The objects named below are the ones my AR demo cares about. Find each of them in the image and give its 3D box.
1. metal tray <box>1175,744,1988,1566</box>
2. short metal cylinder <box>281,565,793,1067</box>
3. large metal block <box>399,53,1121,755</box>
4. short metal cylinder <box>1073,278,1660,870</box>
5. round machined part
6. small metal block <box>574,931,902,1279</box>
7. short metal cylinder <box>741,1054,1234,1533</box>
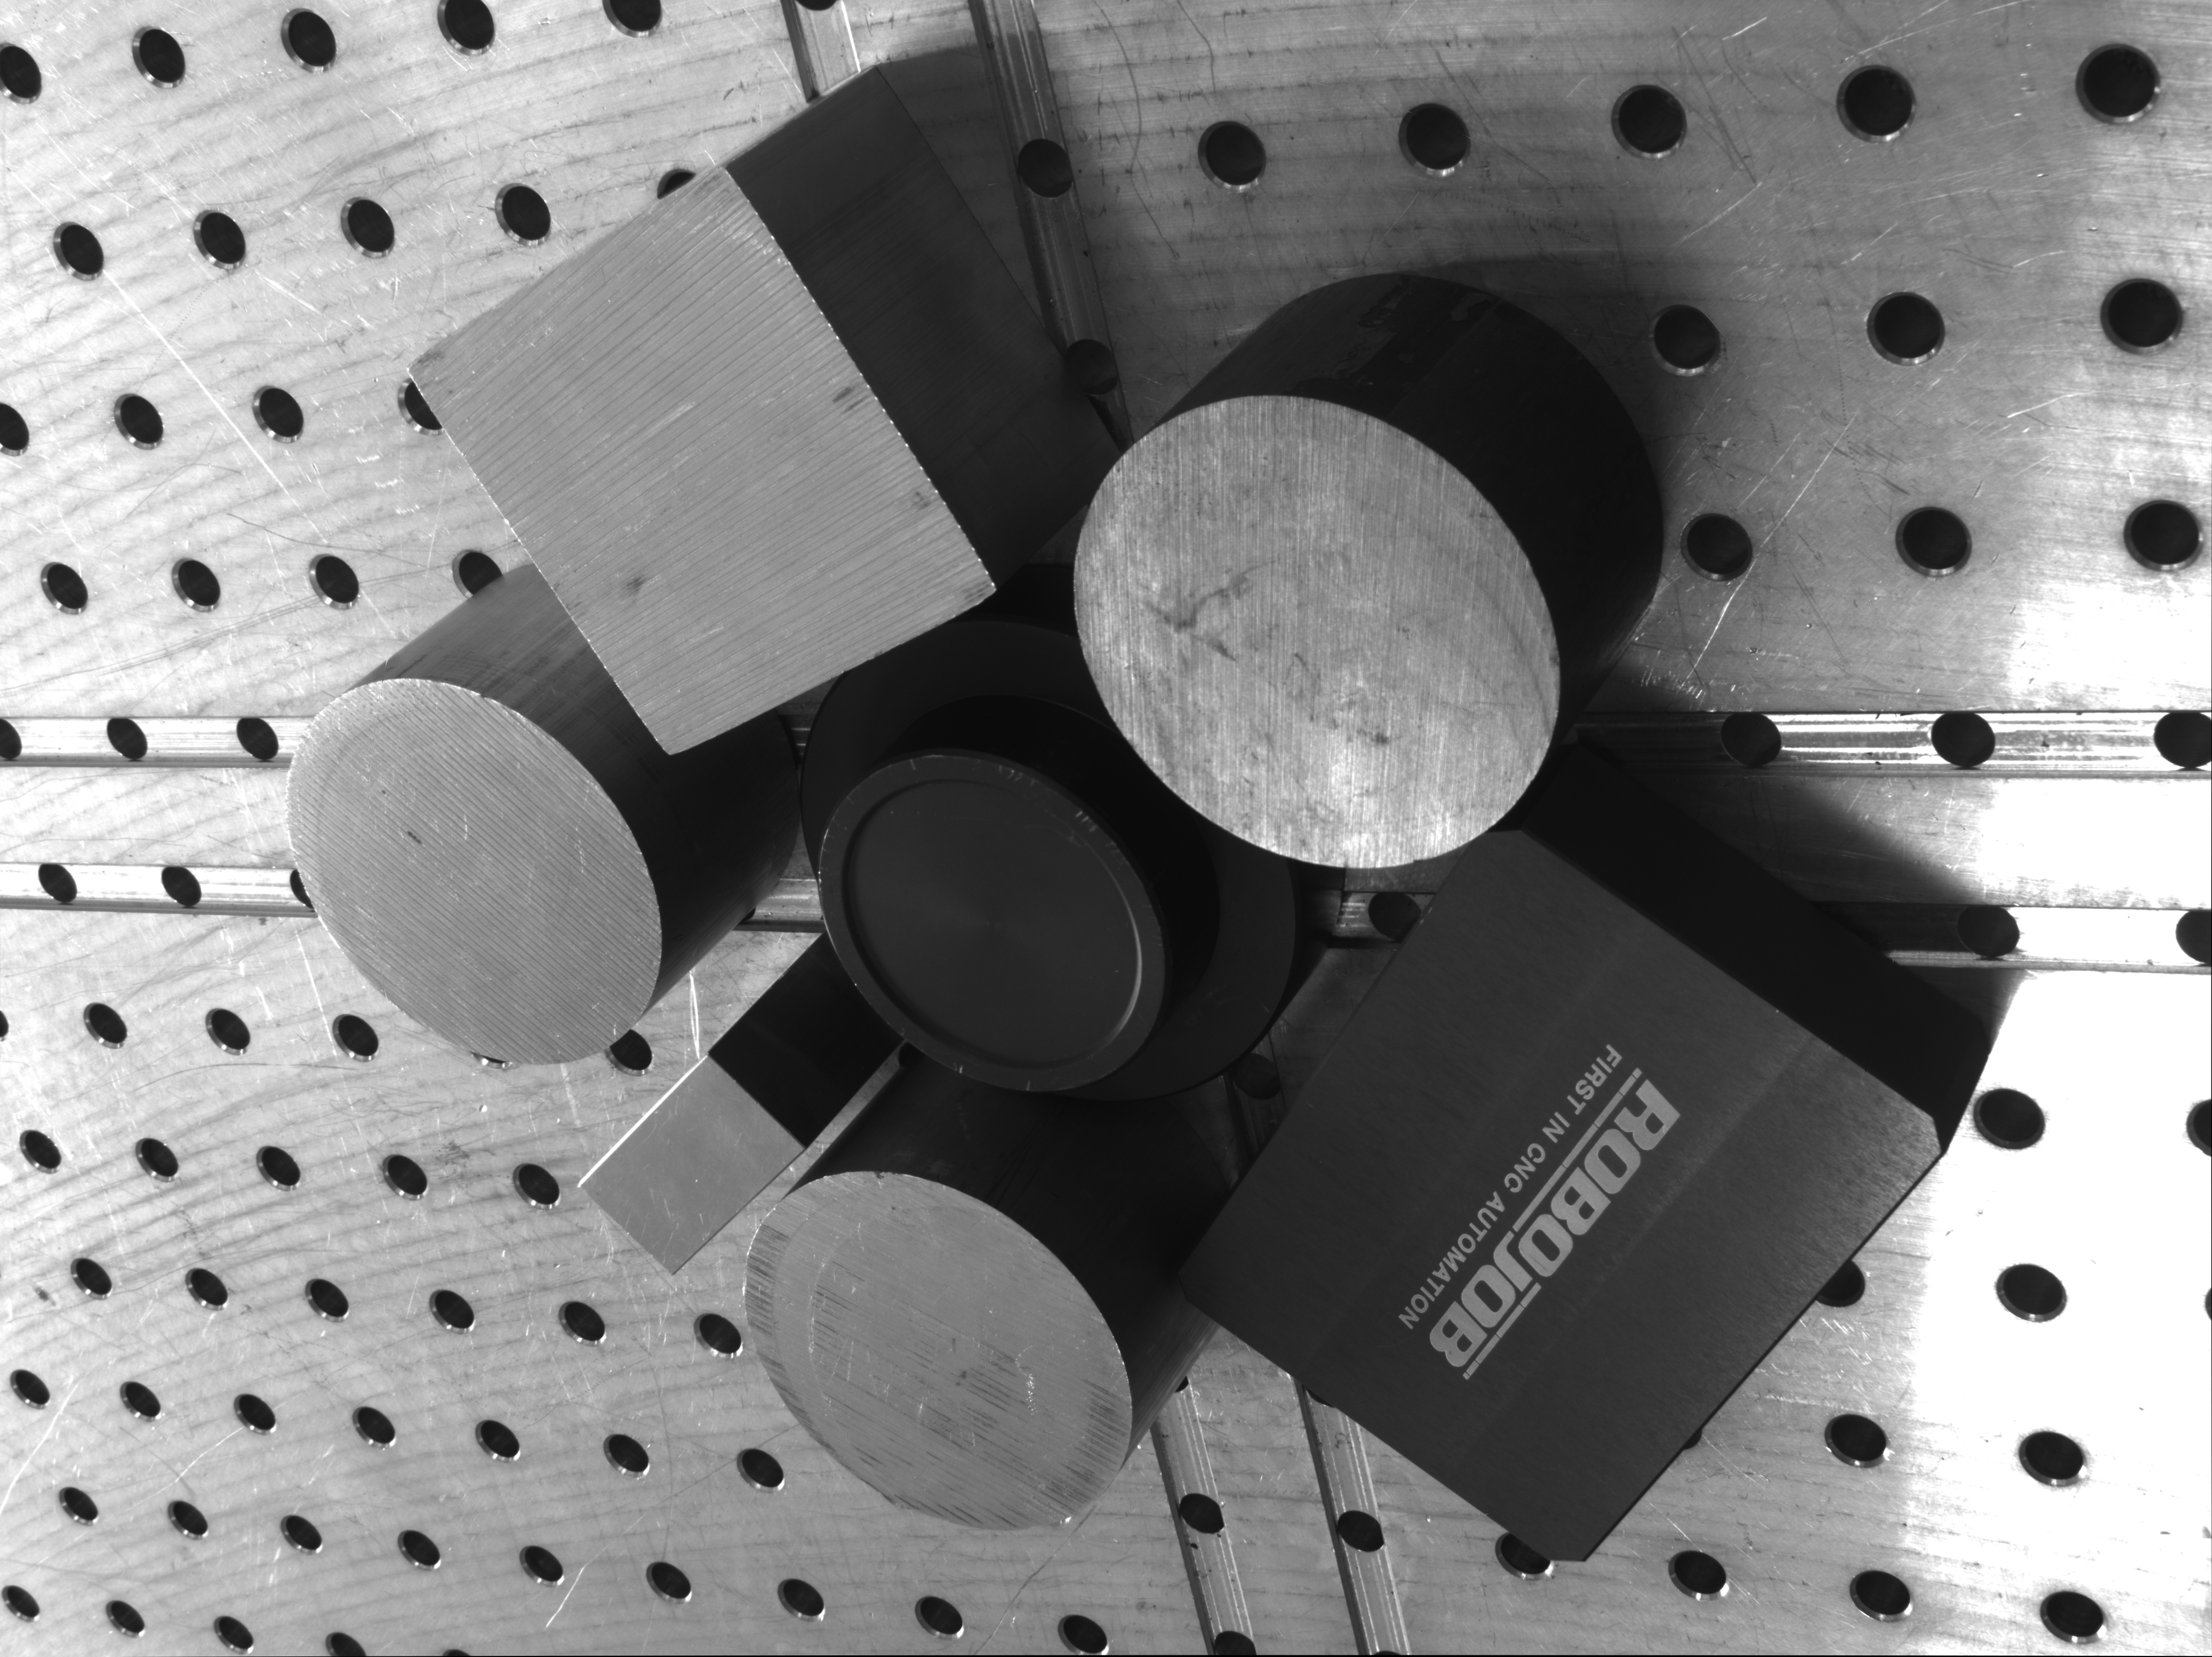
[{"bbox_3d":[0.079,0.059,0.635,0.090,0.030,0.130,35,128,6],"label":"metal tray"},{"bbox_3d":[-0.105,-0.003,0.683,0.080,0.050,0.080,13,124,21],"label":"short metal cylinder"},{"bbox_3d":[-0.057,-0.070,0.617,0.080,0.050,0.080,-24,105,36],"label":"large metal block"},{"bbox_3d":[0.042,-0.041,0.581,0.080,0.050,0.080,13,124,21],"label":"short metal cylinder"},{"bbox_3d":[-0.012,0.007,0.644,0.098,0.042,0.098,13,124,21],"label":"round machined part"},{"bbox_3d":[-0.067,0.051,0.695,0.025,0.050,0.050,44,129,-2],"label":"small metal block"},{"bbox_3d":[-0.022,0.085,0.692,0.080,0.050,0.080,13,124,21],"label":"short metal cylinder"}]
